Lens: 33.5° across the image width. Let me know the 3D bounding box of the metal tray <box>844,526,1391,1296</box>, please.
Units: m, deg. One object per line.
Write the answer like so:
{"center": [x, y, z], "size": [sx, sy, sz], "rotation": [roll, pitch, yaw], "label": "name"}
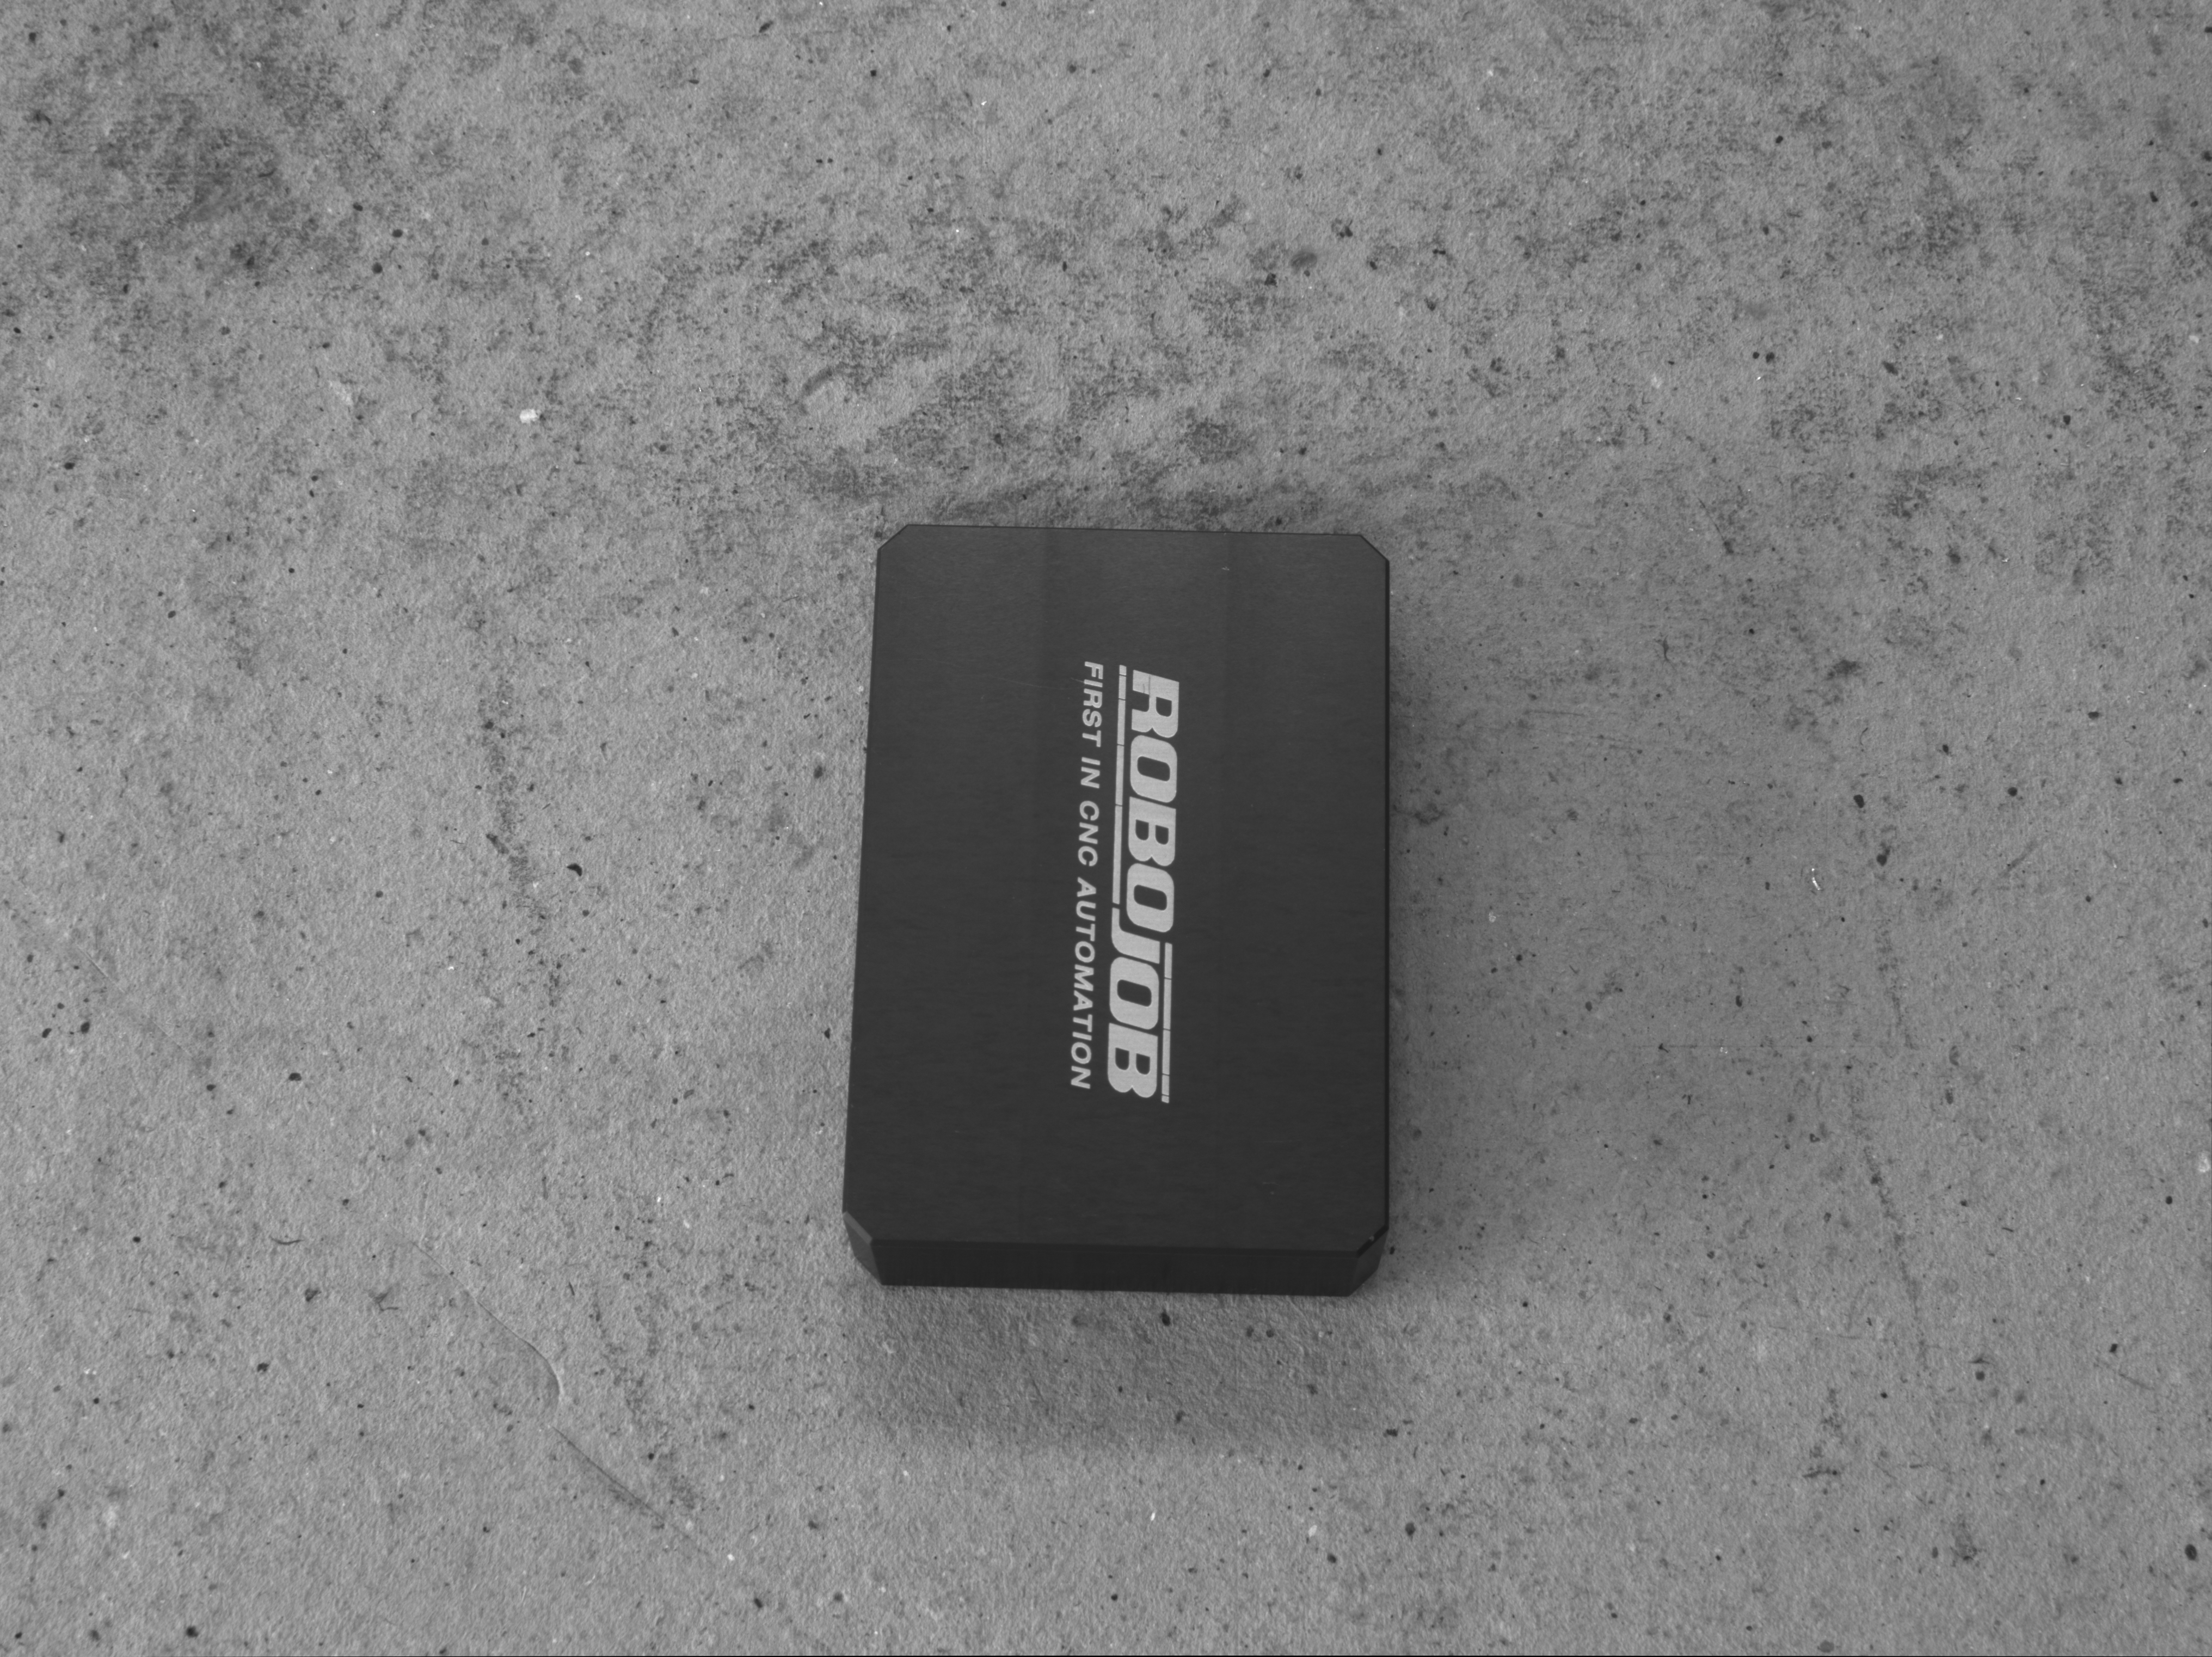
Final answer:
{"center": [0.003, 0.014, 0.637], "size": [0.090, 0.030, 0.130], "rotation": [1, 70, 0], "label": "metal tray"}
